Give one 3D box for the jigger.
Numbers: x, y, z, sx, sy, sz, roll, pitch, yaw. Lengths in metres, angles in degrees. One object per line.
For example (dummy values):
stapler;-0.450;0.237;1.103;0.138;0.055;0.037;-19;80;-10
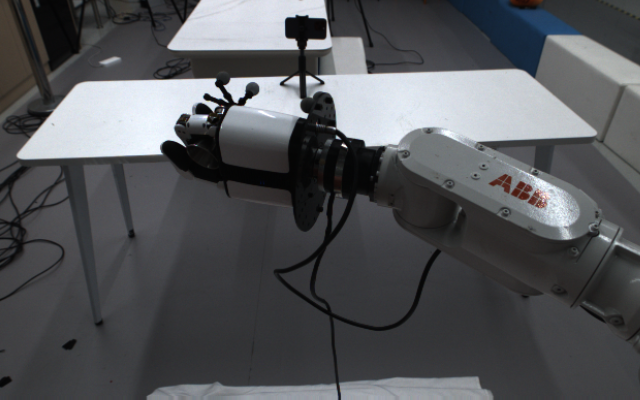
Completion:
jigger;-0.126;-0.079;0.588;0.043;0.043;0.071;15;59;18
